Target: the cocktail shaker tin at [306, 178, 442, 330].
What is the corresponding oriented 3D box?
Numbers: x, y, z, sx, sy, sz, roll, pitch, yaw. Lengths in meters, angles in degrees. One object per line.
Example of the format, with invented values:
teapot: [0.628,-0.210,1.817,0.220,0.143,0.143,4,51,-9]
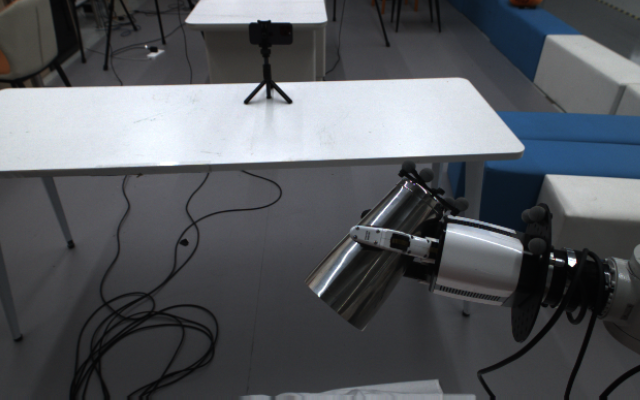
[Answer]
cocktail shaker tin: [0.072,0.056,0.579,0.170,0.093,0.093,-48,49,-3]
